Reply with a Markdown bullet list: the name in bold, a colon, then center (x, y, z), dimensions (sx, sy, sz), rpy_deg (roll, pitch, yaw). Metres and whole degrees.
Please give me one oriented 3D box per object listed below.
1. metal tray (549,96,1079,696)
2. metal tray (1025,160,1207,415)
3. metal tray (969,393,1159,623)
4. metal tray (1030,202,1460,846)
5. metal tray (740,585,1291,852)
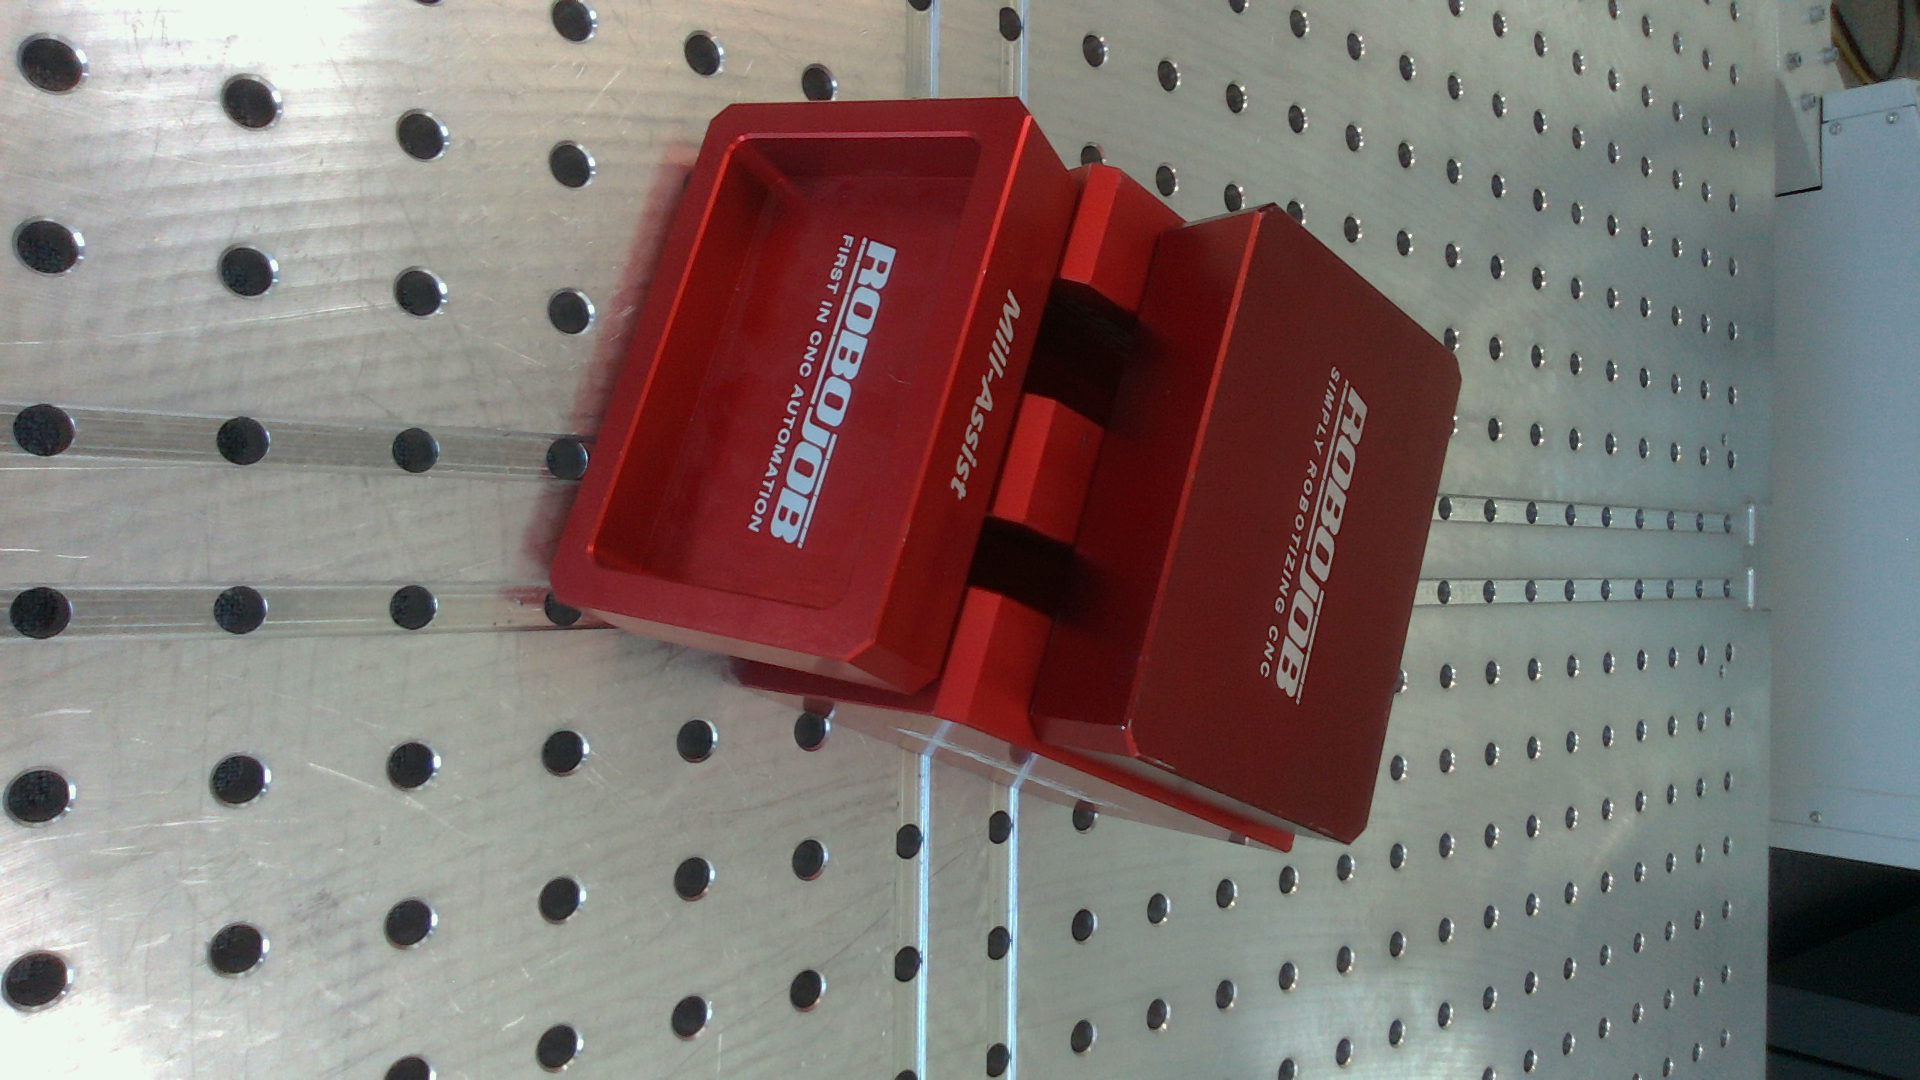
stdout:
- **metal tray**: center (-0.033, -0.037, 0.318), dimensions (0.030, 0.090, 0.130), rpy_deg (38, 65, -57)
- **metal tray**: center (0.049, -0.053, 0.389), dimensions (0.130, 0.090, 0.030), rpy_deg (26, 74, -36)
- **metal tray**: center (0.033, 0.003, 0.375), dimensions (0.130, 0.090, 0.030), rpy_deg (26, 73, -38)
- **metal tray**: center (0.073, -0.002, 0.331), dimensions (0.090, 0.030, 0.130), rpy_deg (26, 74, -37)
- **metal tray**: center (0.019, 0.047, 0.365), dimensions (0.130, 0.090, 0.030), rpy_deg (27, 73, -37)
